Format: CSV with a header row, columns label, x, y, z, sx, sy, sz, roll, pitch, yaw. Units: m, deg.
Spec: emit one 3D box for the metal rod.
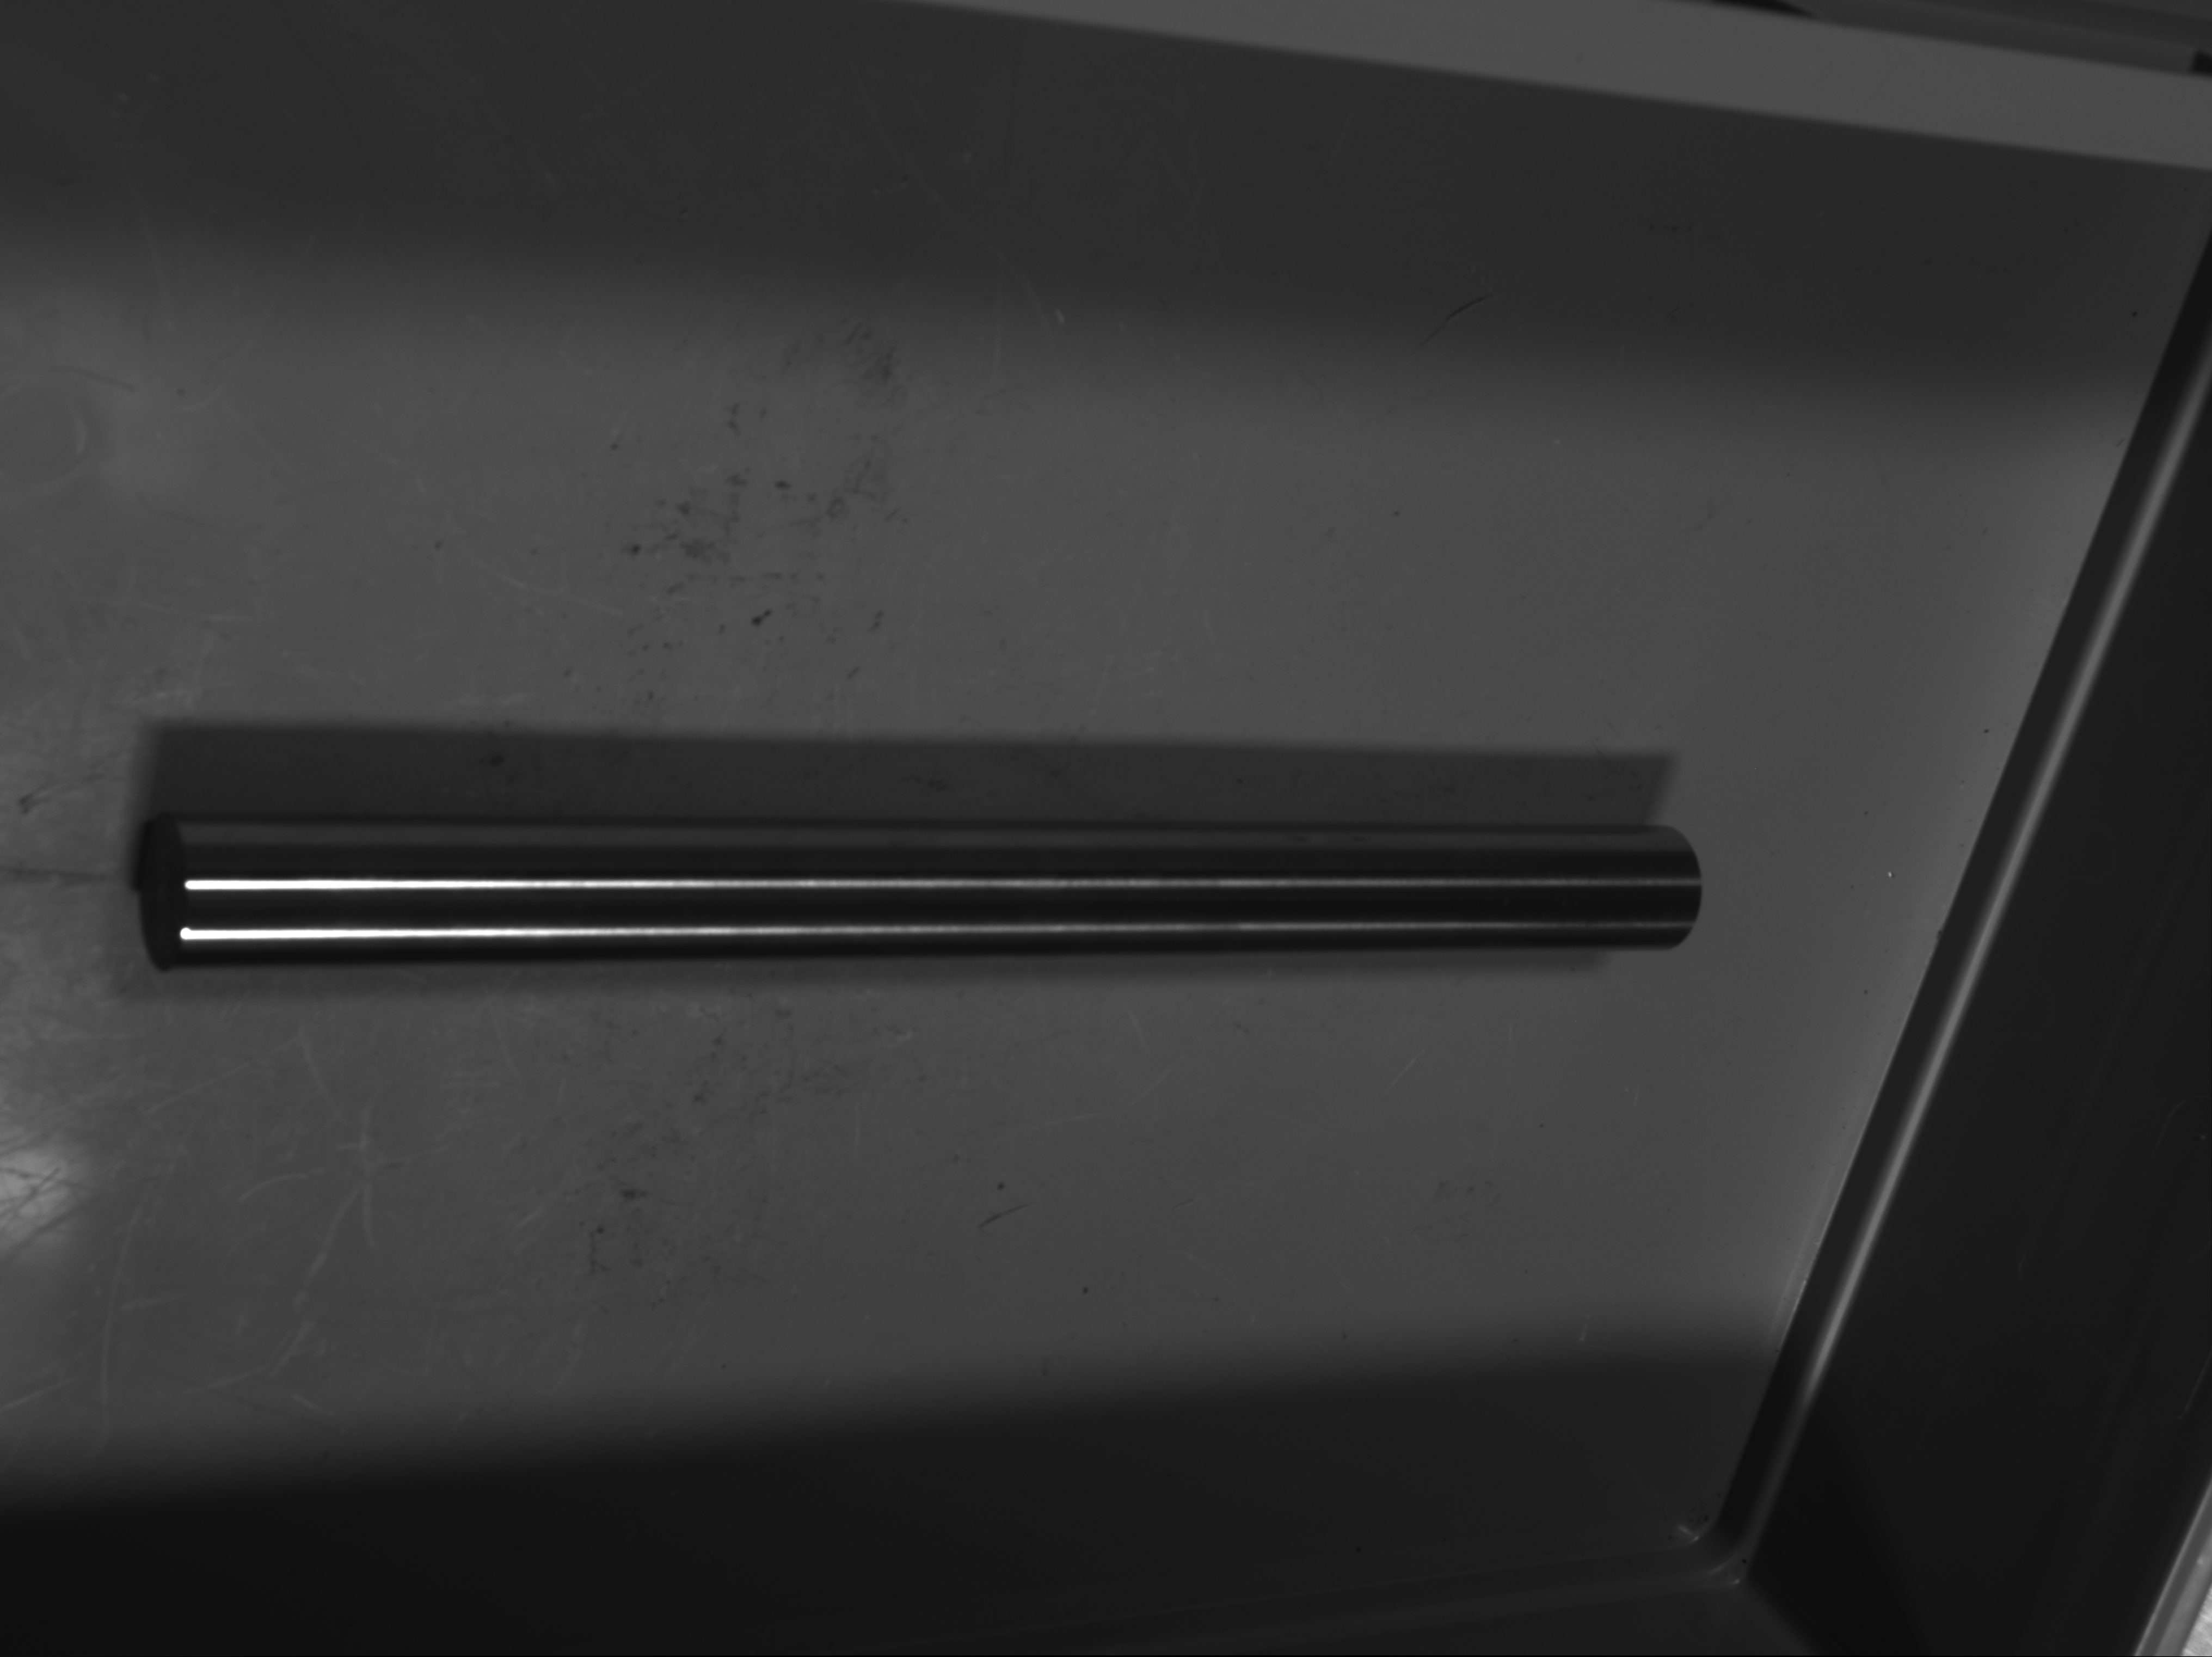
label,x,y,z,sx,sy,sz,roll,pitch,yaw
metal rod,-0.012,0.012,0.649,0.301,0.025,0.025,0,118,-31
